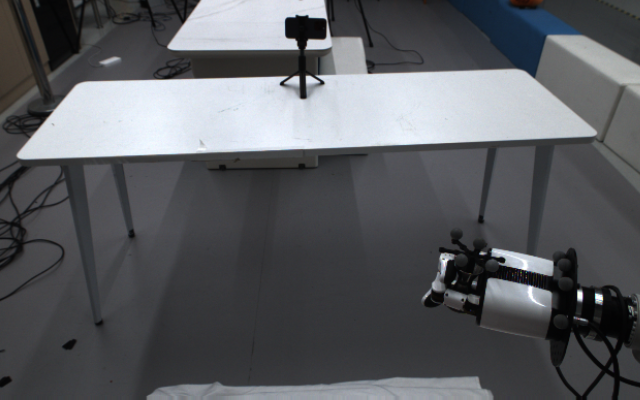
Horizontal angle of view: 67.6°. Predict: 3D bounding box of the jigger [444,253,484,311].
[{"bbox_3d":[0.205,0.121,0.690,0.043,0.071,0.043,6,26,-3],"label":"jigger"}]
